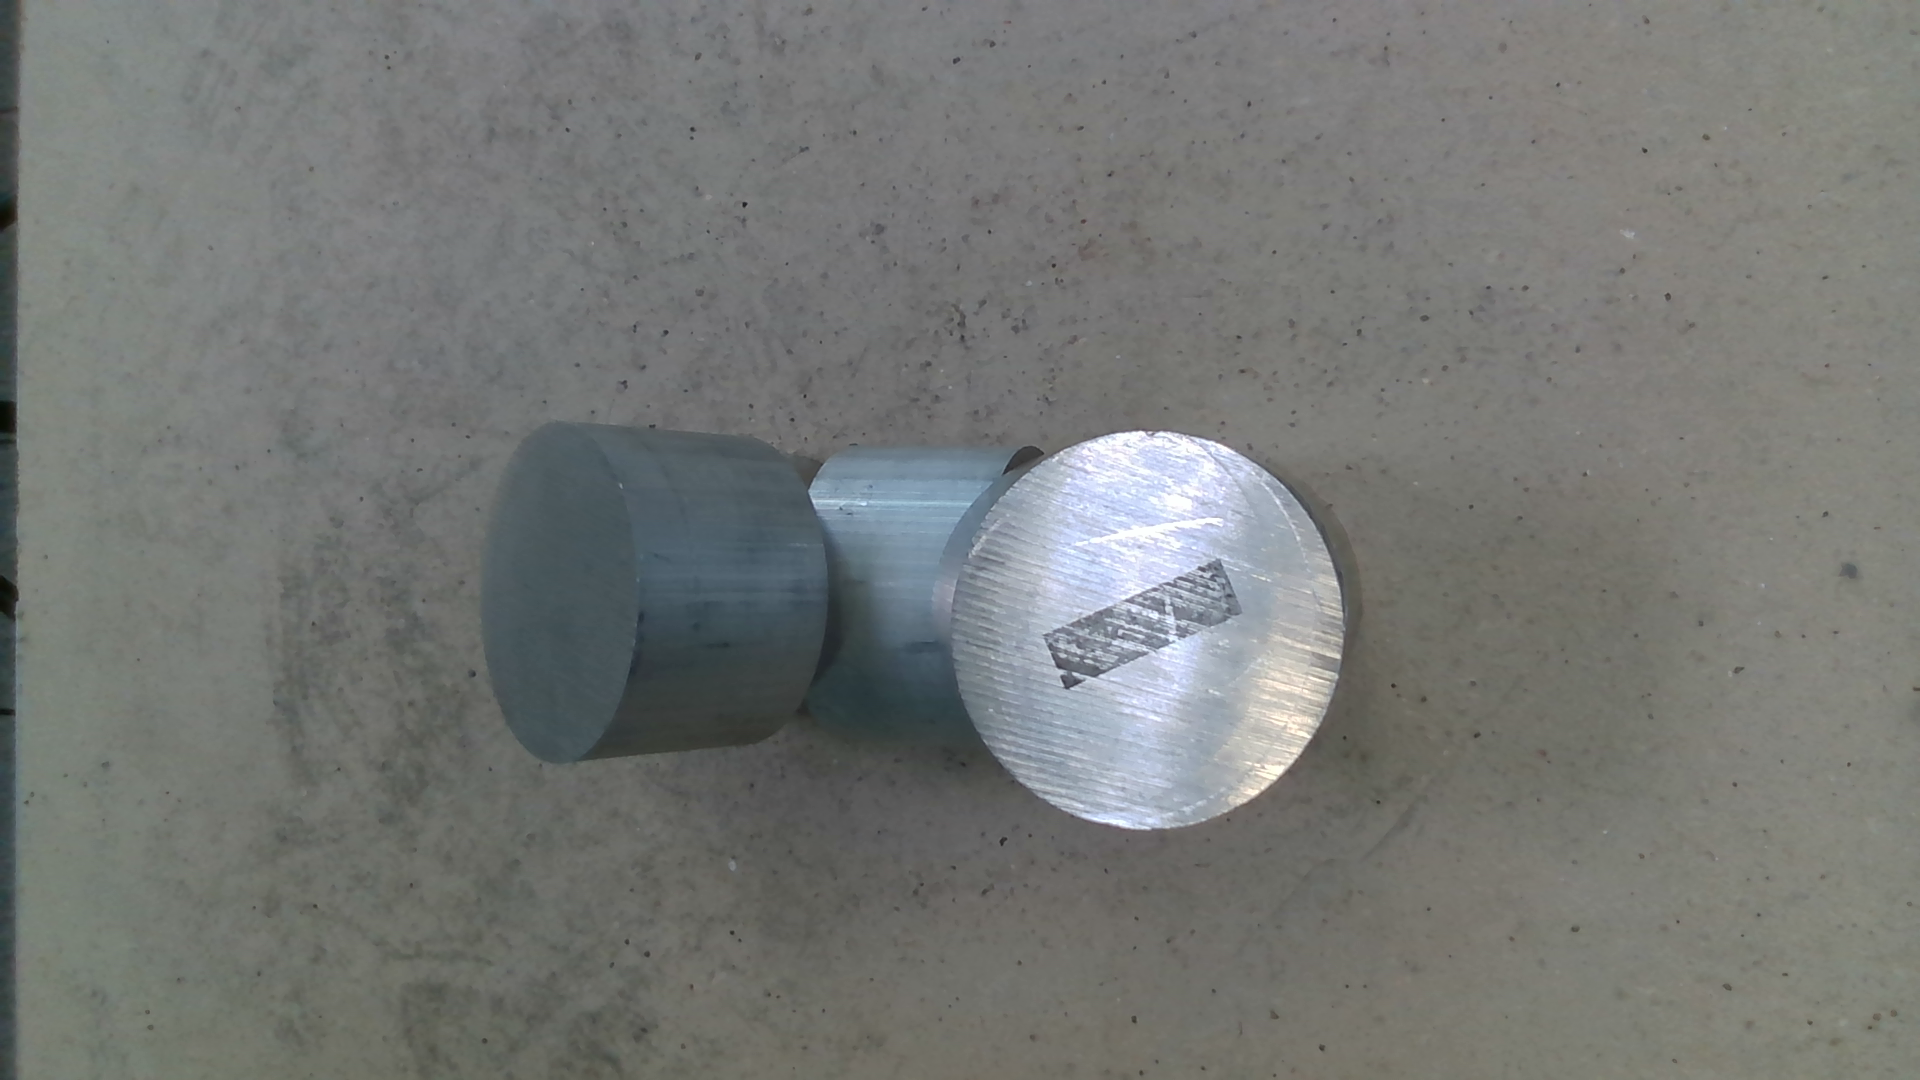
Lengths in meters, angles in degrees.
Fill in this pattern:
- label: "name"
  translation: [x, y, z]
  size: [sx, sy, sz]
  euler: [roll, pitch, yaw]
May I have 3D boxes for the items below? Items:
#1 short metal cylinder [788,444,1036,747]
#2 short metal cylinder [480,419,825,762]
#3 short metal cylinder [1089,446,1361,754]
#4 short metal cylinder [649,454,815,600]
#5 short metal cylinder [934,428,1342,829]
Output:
- label: "short metal cylinder"
  translation: [-0.005, 0.014, 0.368]
  size: [0.050, 0.080, 0.080]
  euler: [2, 91, 20]
- label: "short metal cylinder"
  translation: [-0.077, 0.012, 0.339]
  size: [0.080, 0.050, 0.080]
  euler: [-1, 88, 48]
- label: "short metal cylinder"
  translation: [0.061, 0.015, 0.359]
  size: [0.080, 0.050, 0.080]
  euler: [0, 90, 20]
- label: "short metal cylinder"
  translation: [-0.066, 0.013, 0.405]
  size: [0.080, 0.050, 0.080]
  euler: [0, 90, 20]
- label: "short metal cylinder"
  translation: [0.035, 0.017, 0.299]
  size: [0.080, 0.050, 0.080]
  euler: [0, 91, -5]
